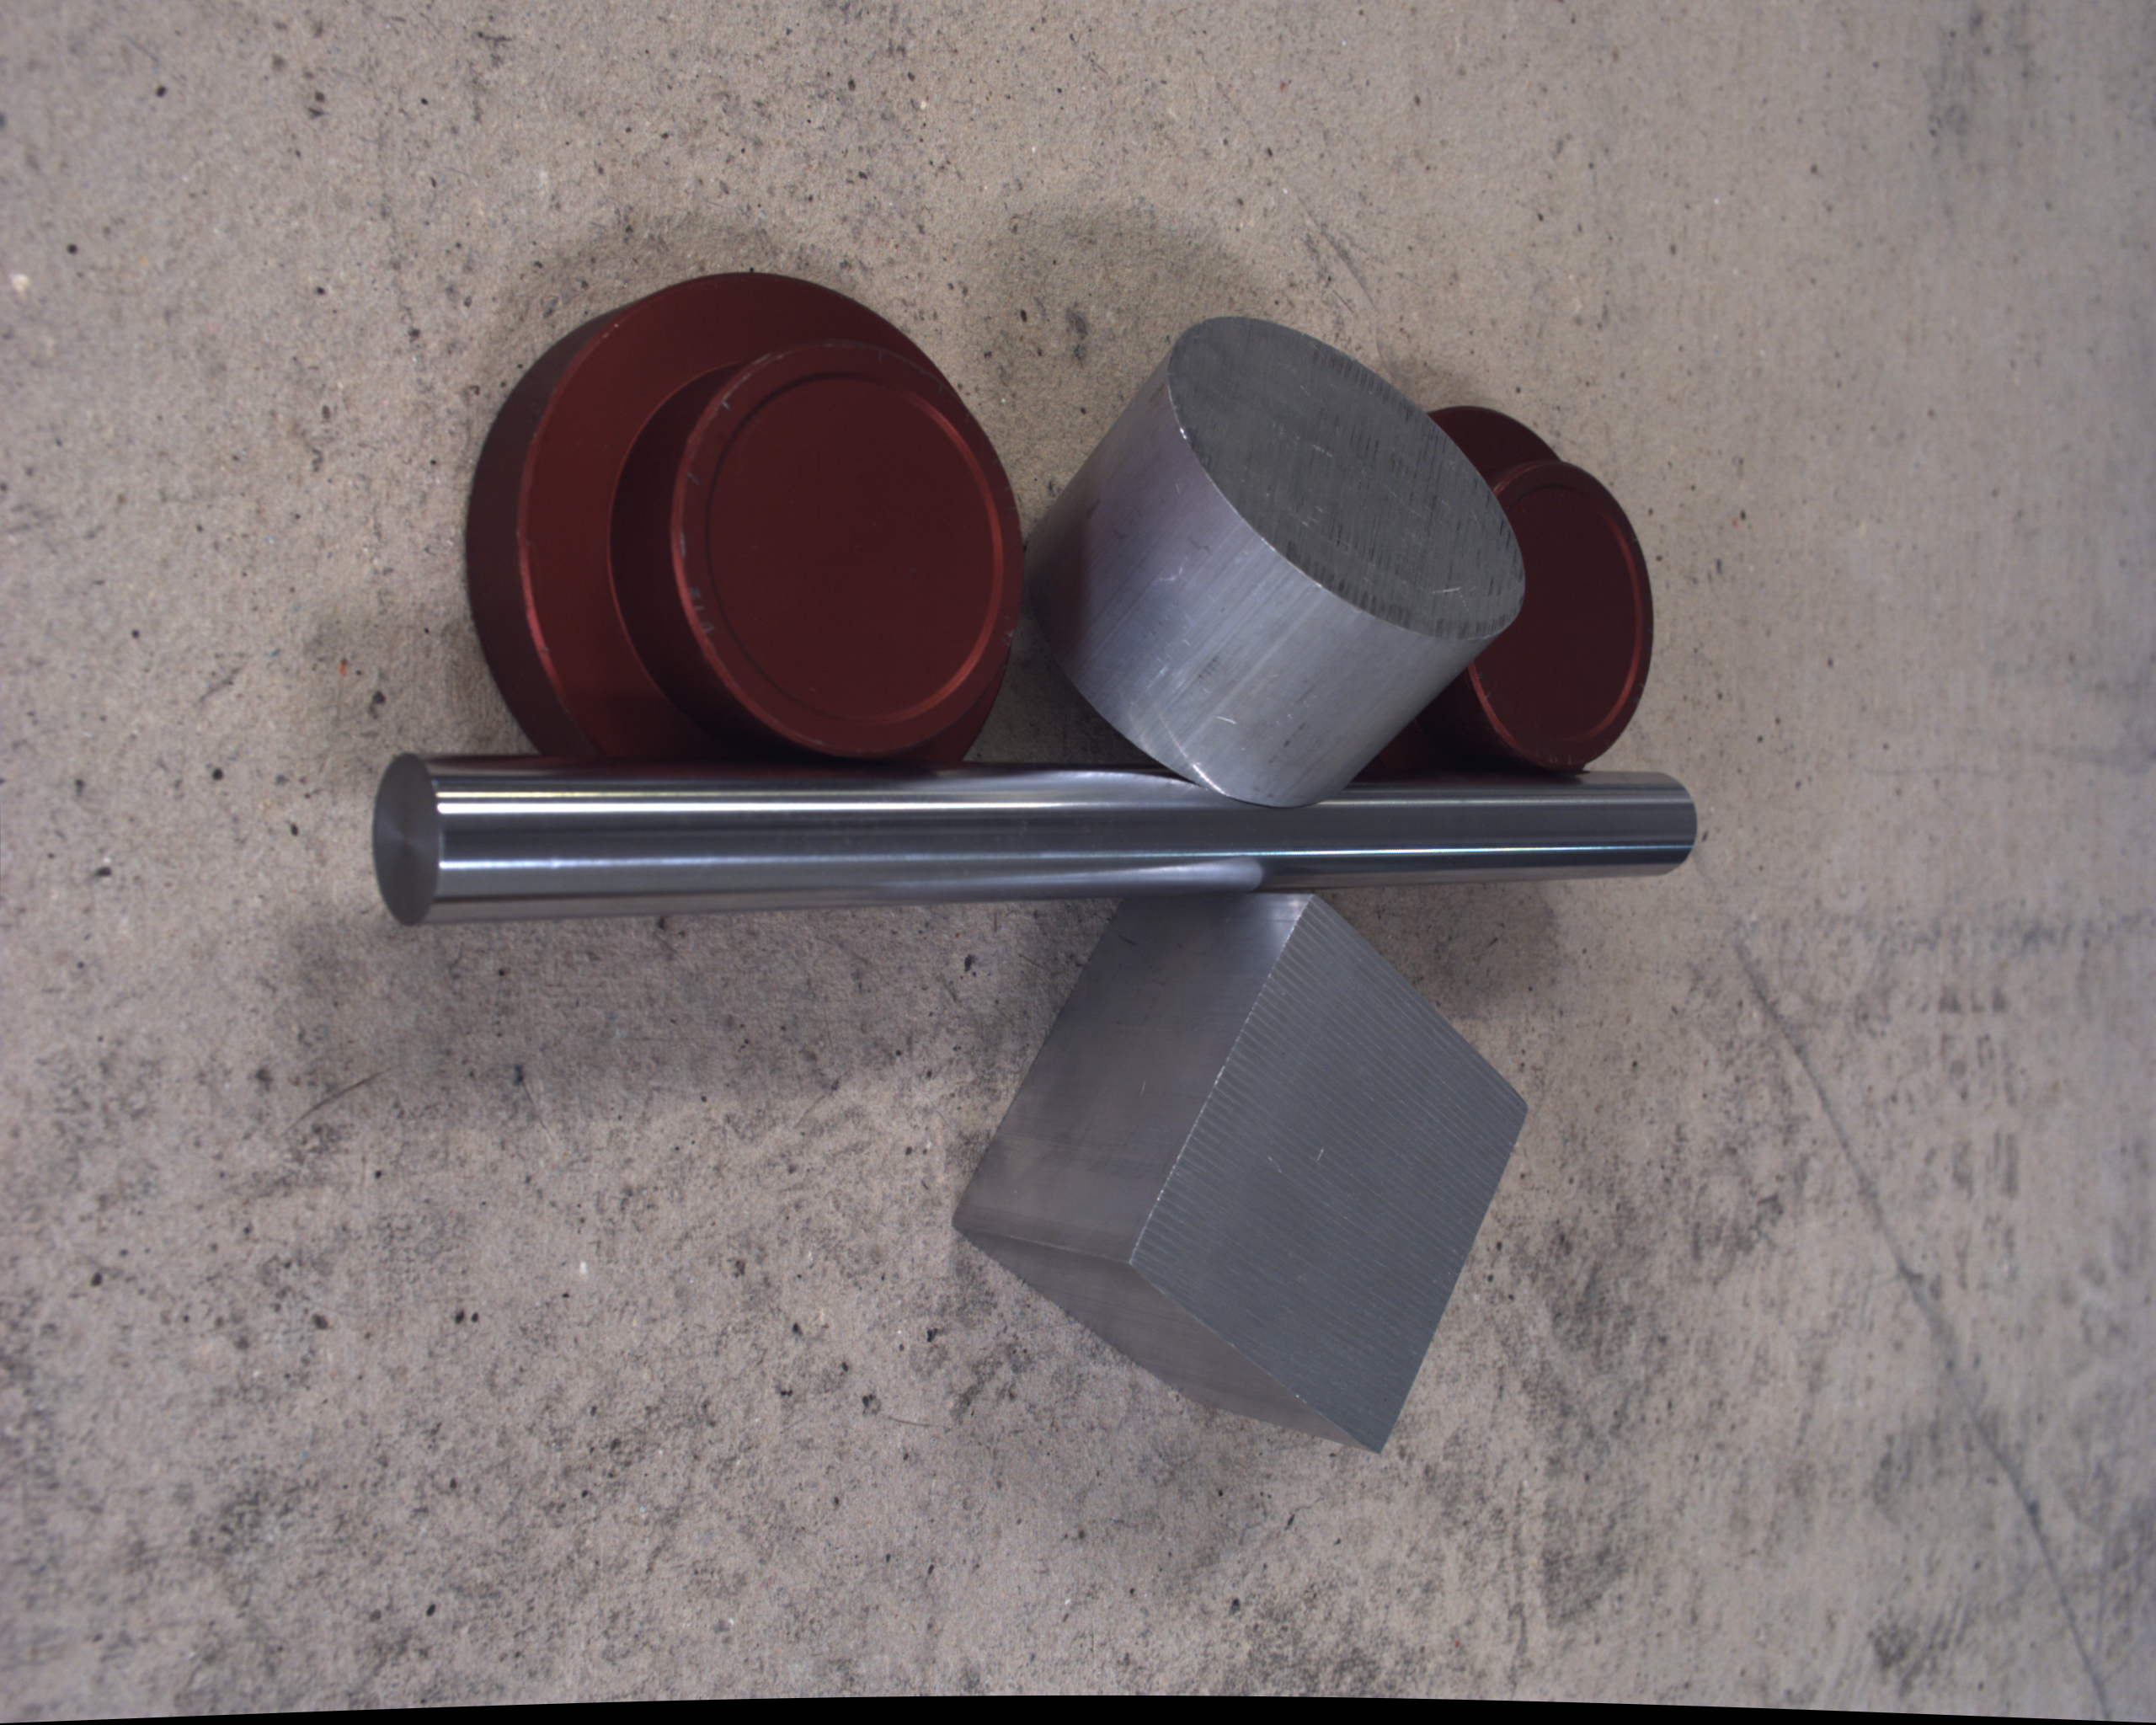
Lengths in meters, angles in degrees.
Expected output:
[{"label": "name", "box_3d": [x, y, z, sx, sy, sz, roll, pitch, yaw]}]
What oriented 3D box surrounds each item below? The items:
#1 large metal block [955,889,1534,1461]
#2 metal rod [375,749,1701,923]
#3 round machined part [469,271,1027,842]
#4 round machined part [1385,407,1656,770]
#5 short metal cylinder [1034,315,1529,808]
[{"label": "large metal block", "box_3d": [0.036, 0.060, 0.417, 0.080, 0.050, 0.080, 43, 64, -32]}, {"label": "metal rod", "box_3d": [0.020, -0.007, 0.395, 0.302, 0.025, 0.025, -1, 91, -40]}, {"label": "round machined part", "box_3d": [-0.048, -0.051, 0.354, 0.099, 0.042, 0.097, 0, 90, -40]}, {"label": "round machined part", "box_3d": [0.094, -0.054, 0.473, 0.099, 0.042, 0.097, 0, 90, -40]}, {"label": "short metal cylinder", "box_3d": [0.038, -0.057, 0.397, 0.080, 0.050, 0.080, 22, 43, -22]}]
